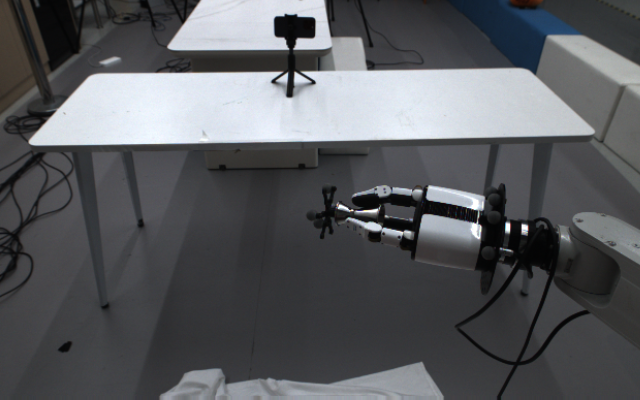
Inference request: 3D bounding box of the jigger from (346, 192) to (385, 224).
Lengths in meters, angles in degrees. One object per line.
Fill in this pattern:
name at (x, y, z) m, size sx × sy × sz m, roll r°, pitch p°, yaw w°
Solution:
jigger at (0.068, 0.017, 0.734) m, size 0.071 × 0.043 × 0.043 m, roll 5°, pitch 34°, yaw 20°
